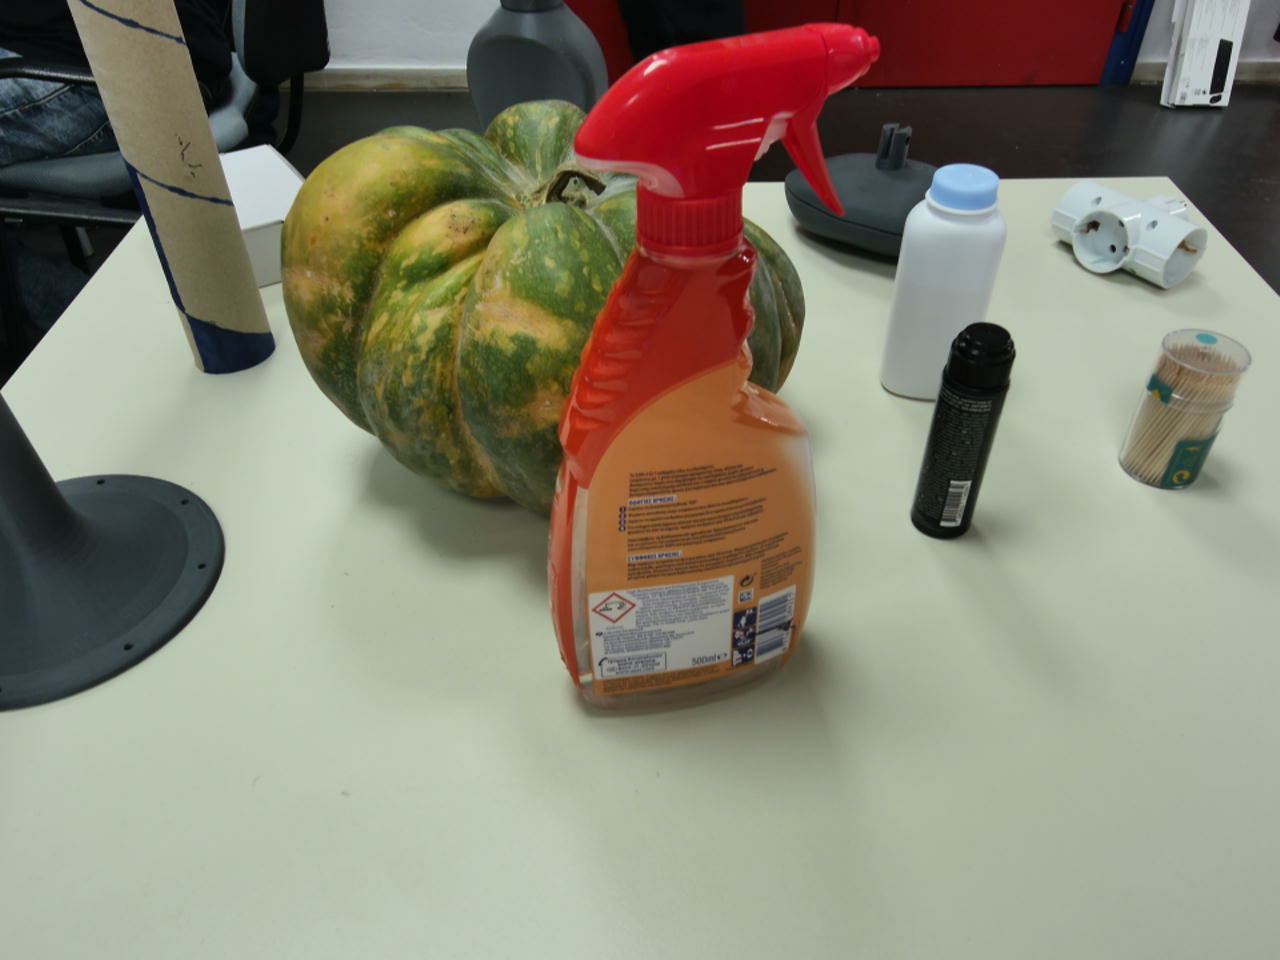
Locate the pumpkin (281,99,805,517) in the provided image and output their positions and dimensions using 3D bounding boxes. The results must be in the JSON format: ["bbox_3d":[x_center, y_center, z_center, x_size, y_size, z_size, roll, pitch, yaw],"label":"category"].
[{"bbox_3d":[-0.046,-0.095,0.513,0.270,0.173,0.237,25,46,28],"label":"pumpkin"}]
